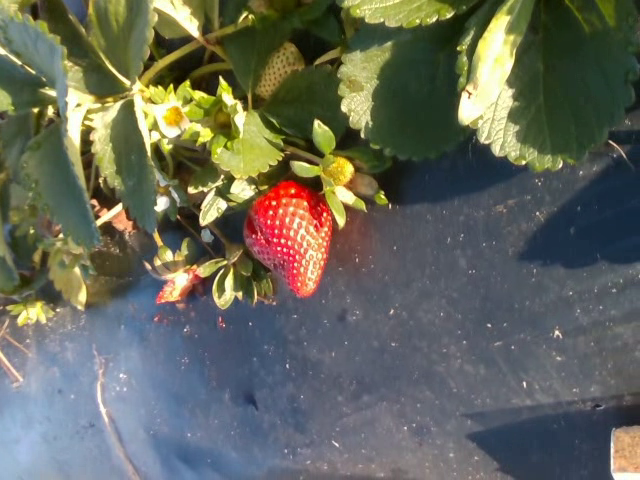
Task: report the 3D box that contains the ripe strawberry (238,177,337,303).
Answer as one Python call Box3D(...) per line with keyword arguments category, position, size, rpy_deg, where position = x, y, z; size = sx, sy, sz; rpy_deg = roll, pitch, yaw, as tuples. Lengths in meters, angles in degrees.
Box3D(category="ripe strawberry", position=(-0.014, 0.005, 0.275), size=(0.041, 0.052, 0.052), rpy_deg=(2, -32, -29))
